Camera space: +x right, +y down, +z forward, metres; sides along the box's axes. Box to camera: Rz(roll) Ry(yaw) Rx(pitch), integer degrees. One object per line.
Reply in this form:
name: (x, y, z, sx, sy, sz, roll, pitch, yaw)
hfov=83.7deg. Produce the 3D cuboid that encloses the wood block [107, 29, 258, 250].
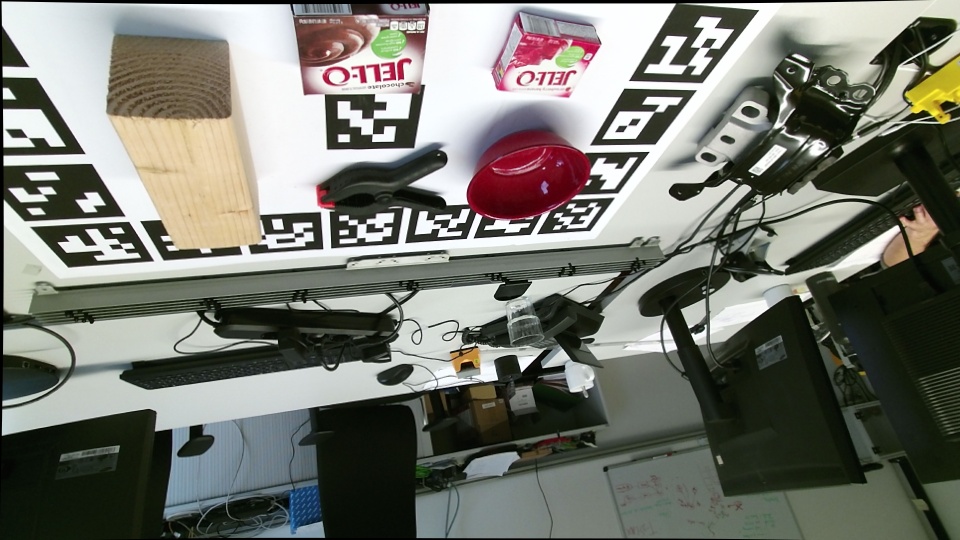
wood block: (-0.273, -0.112, 0.517, 0.090, 0.090, 0.206, -3, 151, -19)

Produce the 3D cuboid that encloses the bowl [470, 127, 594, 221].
bowl: (0.061, -0.132, 0.693, 0.162, 0.055, 0.162, -11, 150, -6)

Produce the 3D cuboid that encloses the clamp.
clamp: (-0.105, -0.106, 0.686, 0.166, 0.036, 0.122, -9, 153, -6)

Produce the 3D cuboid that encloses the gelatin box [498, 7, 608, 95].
gelatin box: (0.073, -0.218, 0.544, 0.090, 0.030, 0.073, -1, 149, -24)

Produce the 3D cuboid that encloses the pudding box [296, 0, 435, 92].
pudding box: (-0.102, -0.206, 0.478, 0.114, 0.038, 0.090, -8, 149, -17)
